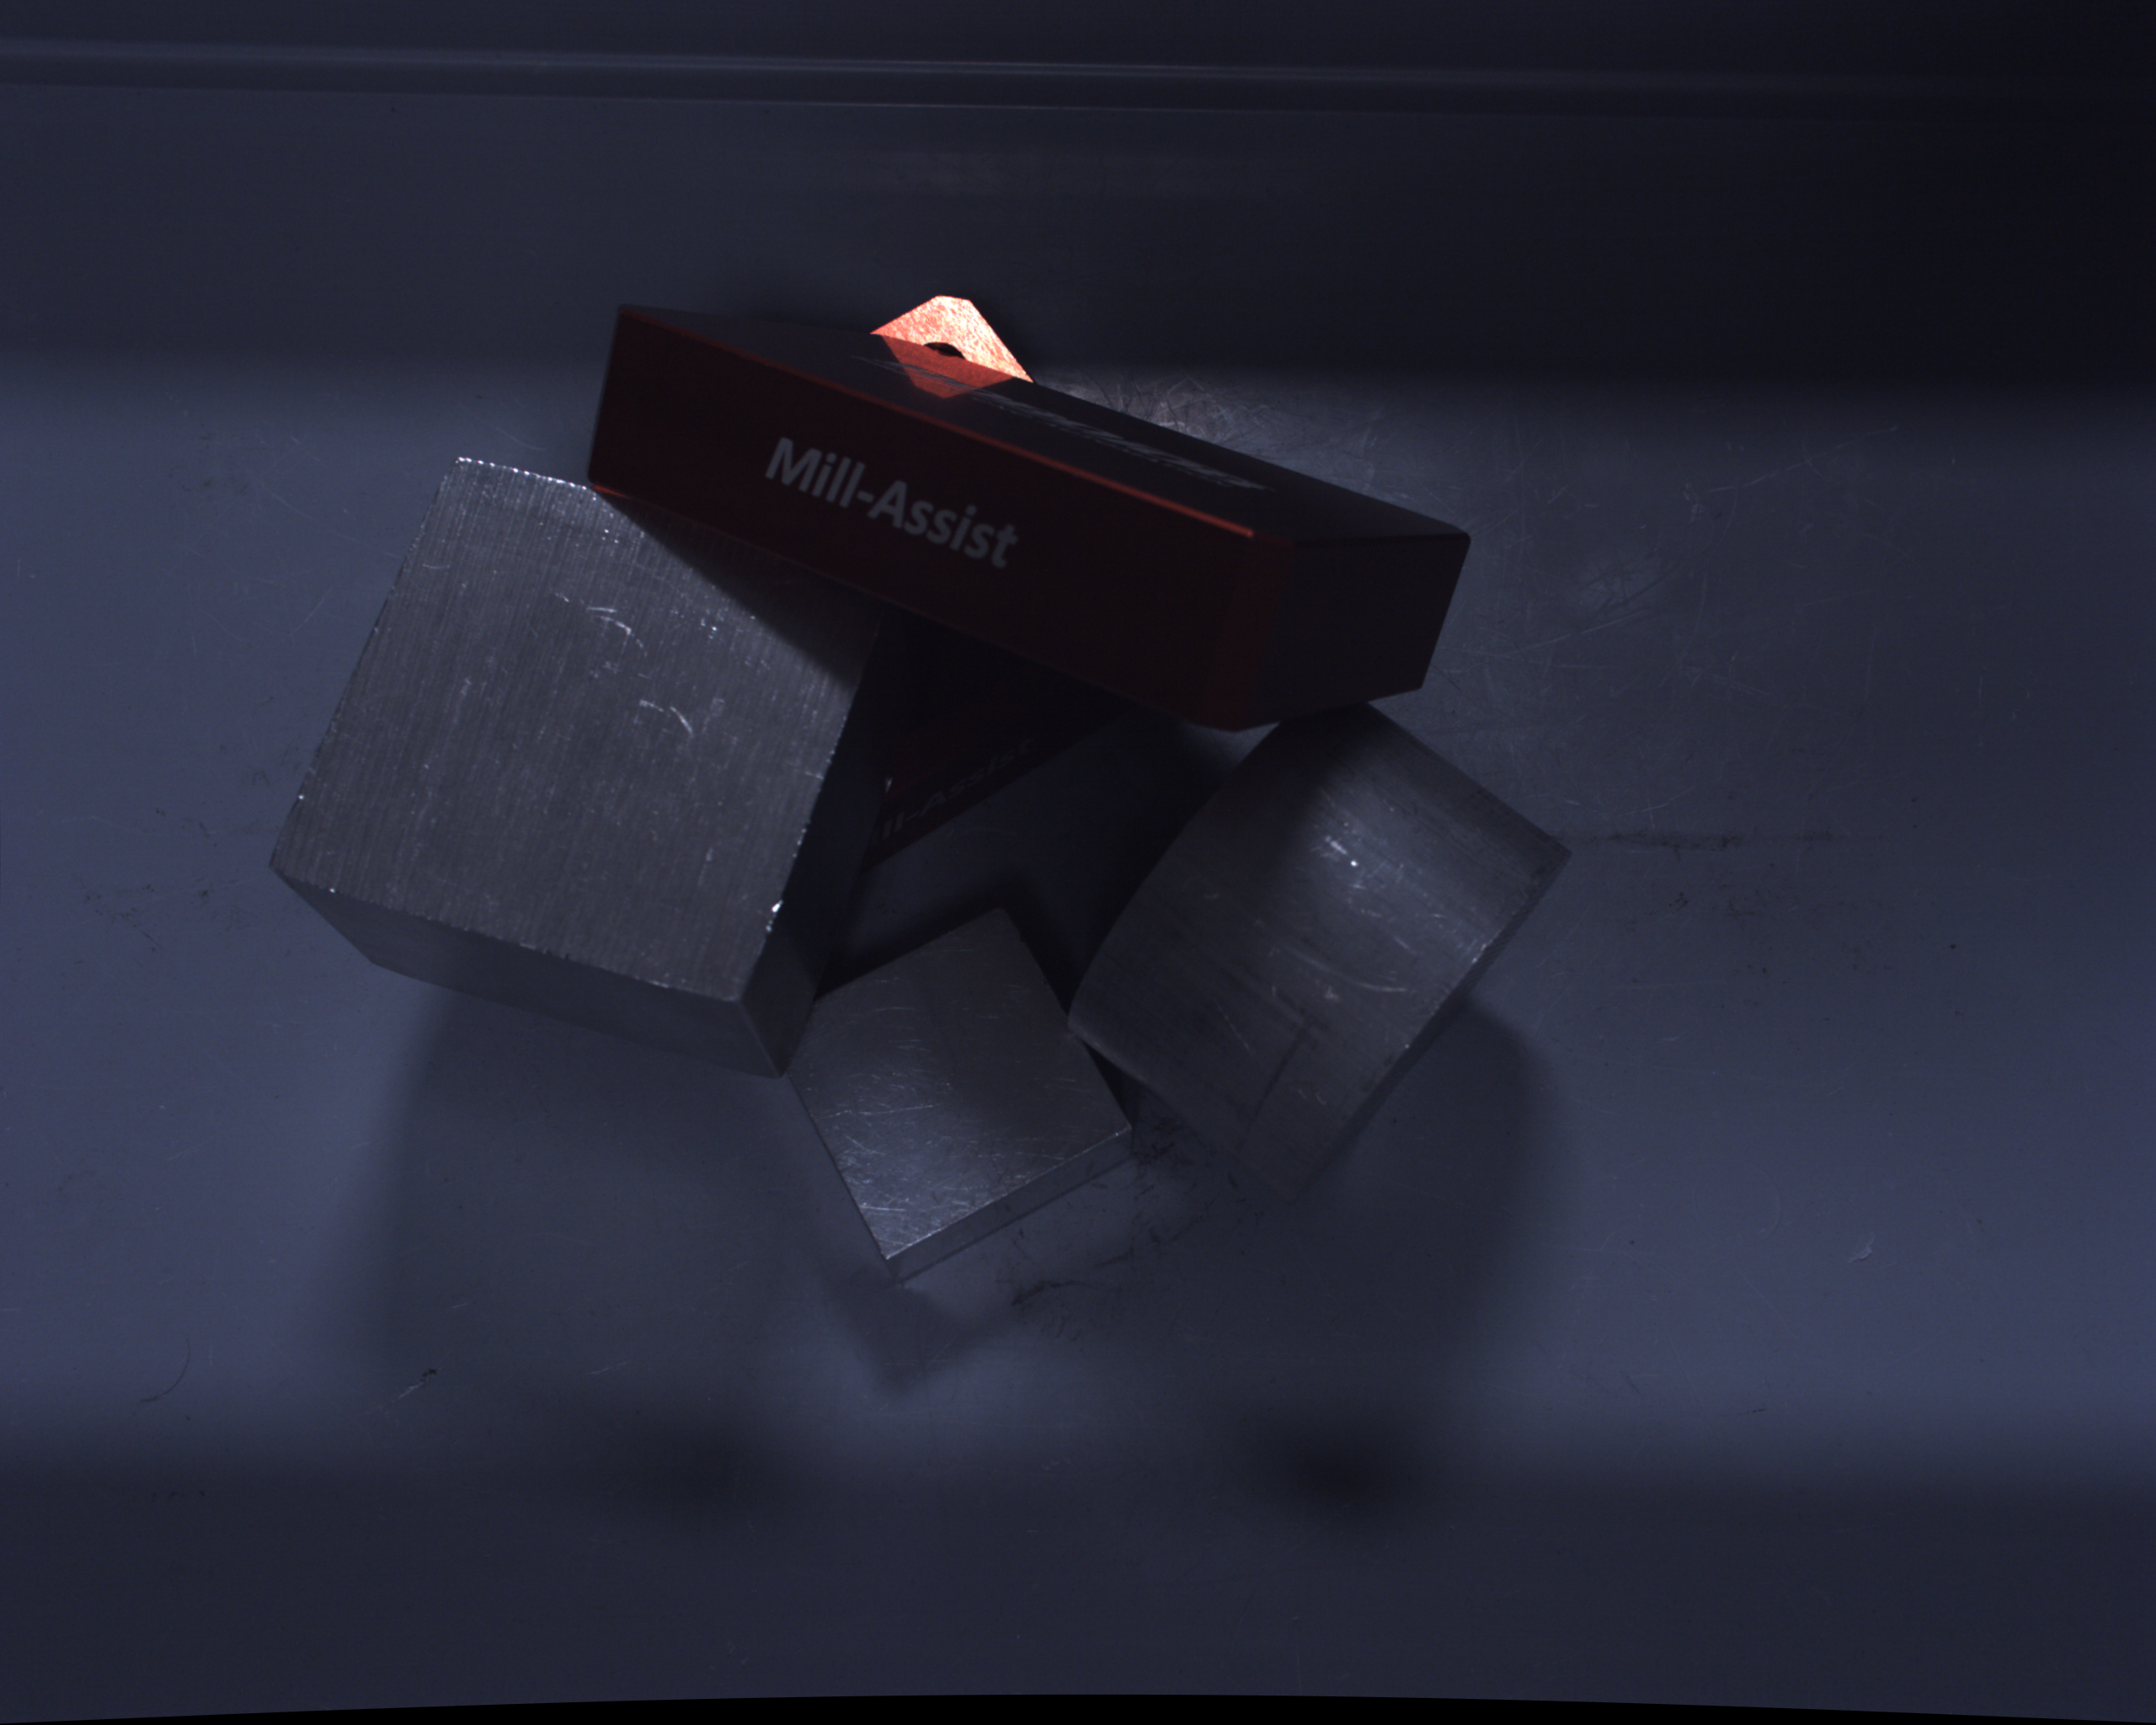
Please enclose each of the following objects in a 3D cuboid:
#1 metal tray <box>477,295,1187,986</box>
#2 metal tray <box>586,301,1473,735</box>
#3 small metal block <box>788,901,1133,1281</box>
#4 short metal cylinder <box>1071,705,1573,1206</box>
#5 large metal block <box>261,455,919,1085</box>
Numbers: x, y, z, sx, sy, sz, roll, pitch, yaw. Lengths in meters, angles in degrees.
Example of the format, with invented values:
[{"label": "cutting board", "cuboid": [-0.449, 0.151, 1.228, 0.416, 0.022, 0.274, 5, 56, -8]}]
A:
[{"label": "metal tray", "cuboid": [-0.054, -0.047, 0.421, 0.131, 0.030, 0.090, -32, 74, -12]}, {"label": "metal tray", "cuboid": [-0.008, -0.063, 0.365, 0.130, 0.091, 0.030, 24, 110, 23]}, {"label": "small metal block", "cuboid": [-0.024, 0.043, 0.392, 0.050, 0.025, 0.050, -27, 73, -10]}, {"label": "short metal cylinder", "cuboid": [0.044, 0.015, 0.375, 0.050, 0.080, 0.080, 38, 74, 12]}, {"label": "large metal block", "cuboid": [-0.080, -0.015, 0.365, 0.080, 0.050, 0.080, 16, 71, 5]}]
